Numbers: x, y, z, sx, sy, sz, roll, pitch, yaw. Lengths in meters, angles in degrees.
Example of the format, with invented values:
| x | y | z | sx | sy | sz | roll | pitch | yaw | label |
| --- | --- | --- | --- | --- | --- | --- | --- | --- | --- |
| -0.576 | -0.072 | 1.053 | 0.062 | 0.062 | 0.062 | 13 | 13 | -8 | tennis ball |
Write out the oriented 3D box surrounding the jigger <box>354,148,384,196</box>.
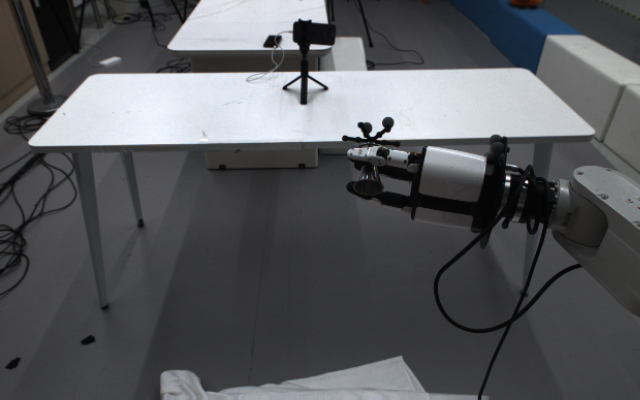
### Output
| x | y | z | sx | sy | sz | roll | pitch | yaw | label |
| --- | --- | --- | --- | --- | --- | --- | --- | --- | --- |
| 0.071 | -0.047 | 0.719 | 0.043 | 0.043 | 0.071 | 5 | 61 | 4 | jigger |
